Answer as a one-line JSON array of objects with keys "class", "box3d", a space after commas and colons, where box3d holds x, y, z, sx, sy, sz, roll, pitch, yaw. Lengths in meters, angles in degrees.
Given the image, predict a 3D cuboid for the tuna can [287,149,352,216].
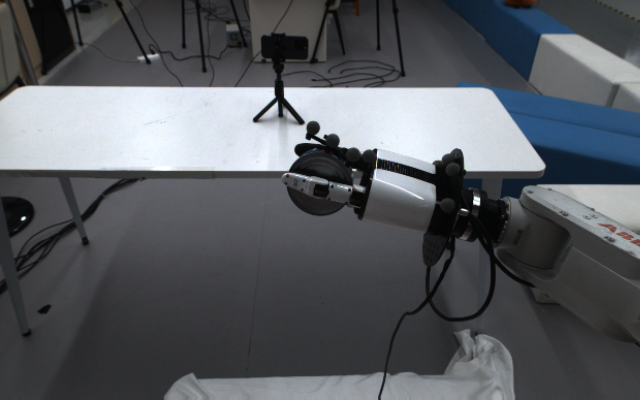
[{"class": "tuna can", "box3d": [0.003, -0.026, 0.634, 0.085, 0.085, 0.034, 7, 16, 7]}]
